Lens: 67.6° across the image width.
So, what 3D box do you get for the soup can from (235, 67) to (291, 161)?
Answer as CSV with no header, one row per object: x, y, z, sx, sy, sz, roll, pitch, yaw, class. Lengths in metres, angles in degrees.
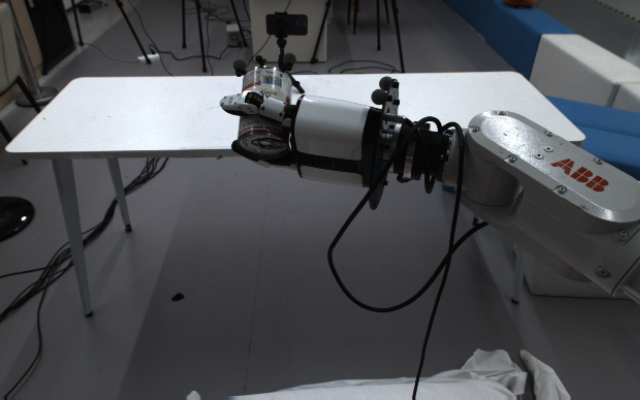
-0.070,-0.113,0.627,0.067,0.067,0.101,1,68,-1,soup can
